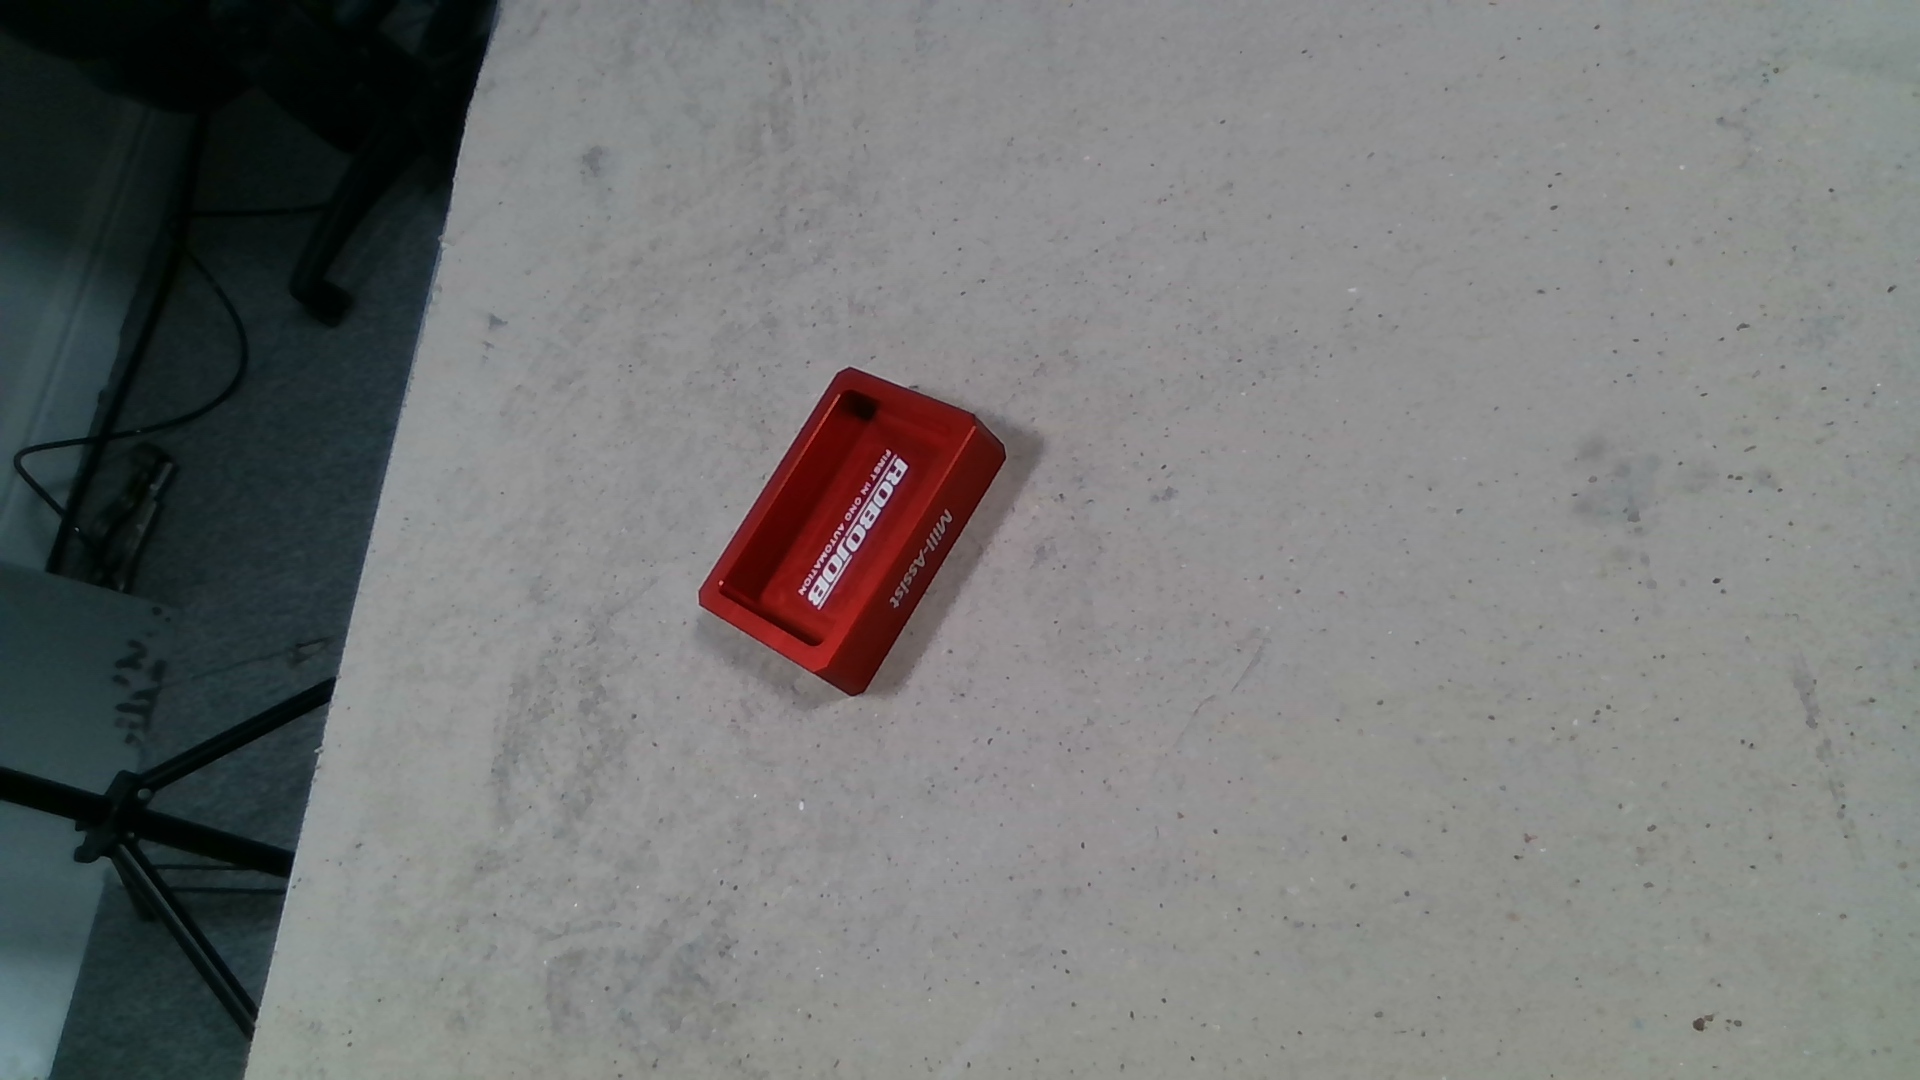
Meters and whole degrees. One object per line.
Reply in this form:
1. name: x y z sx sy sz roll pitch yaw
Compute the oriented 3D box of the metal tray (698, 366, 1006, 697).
1. metal tray: -0.049 -0.007 0.616 0.090 0.030 0.130 25 80 38
